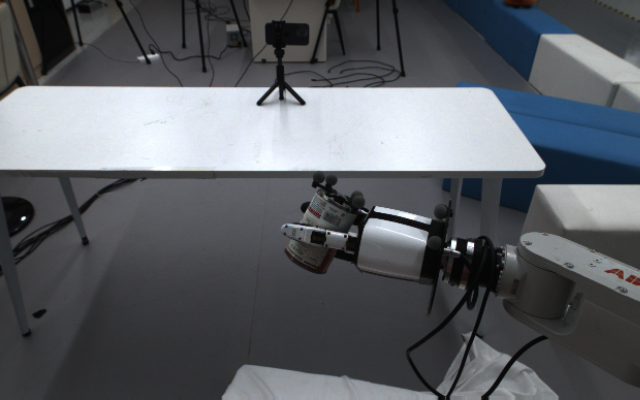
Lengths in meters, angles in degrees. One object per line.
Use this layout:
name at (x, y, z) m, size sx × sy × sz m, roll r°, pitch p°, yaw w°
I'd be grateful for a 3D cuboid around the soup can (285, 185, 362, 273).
soup can at (0.004, 0.044, 0.680) m, size 0.067 × 0.101 × 0.067 m, roll 27°, pitch 10°, yaw -5°
